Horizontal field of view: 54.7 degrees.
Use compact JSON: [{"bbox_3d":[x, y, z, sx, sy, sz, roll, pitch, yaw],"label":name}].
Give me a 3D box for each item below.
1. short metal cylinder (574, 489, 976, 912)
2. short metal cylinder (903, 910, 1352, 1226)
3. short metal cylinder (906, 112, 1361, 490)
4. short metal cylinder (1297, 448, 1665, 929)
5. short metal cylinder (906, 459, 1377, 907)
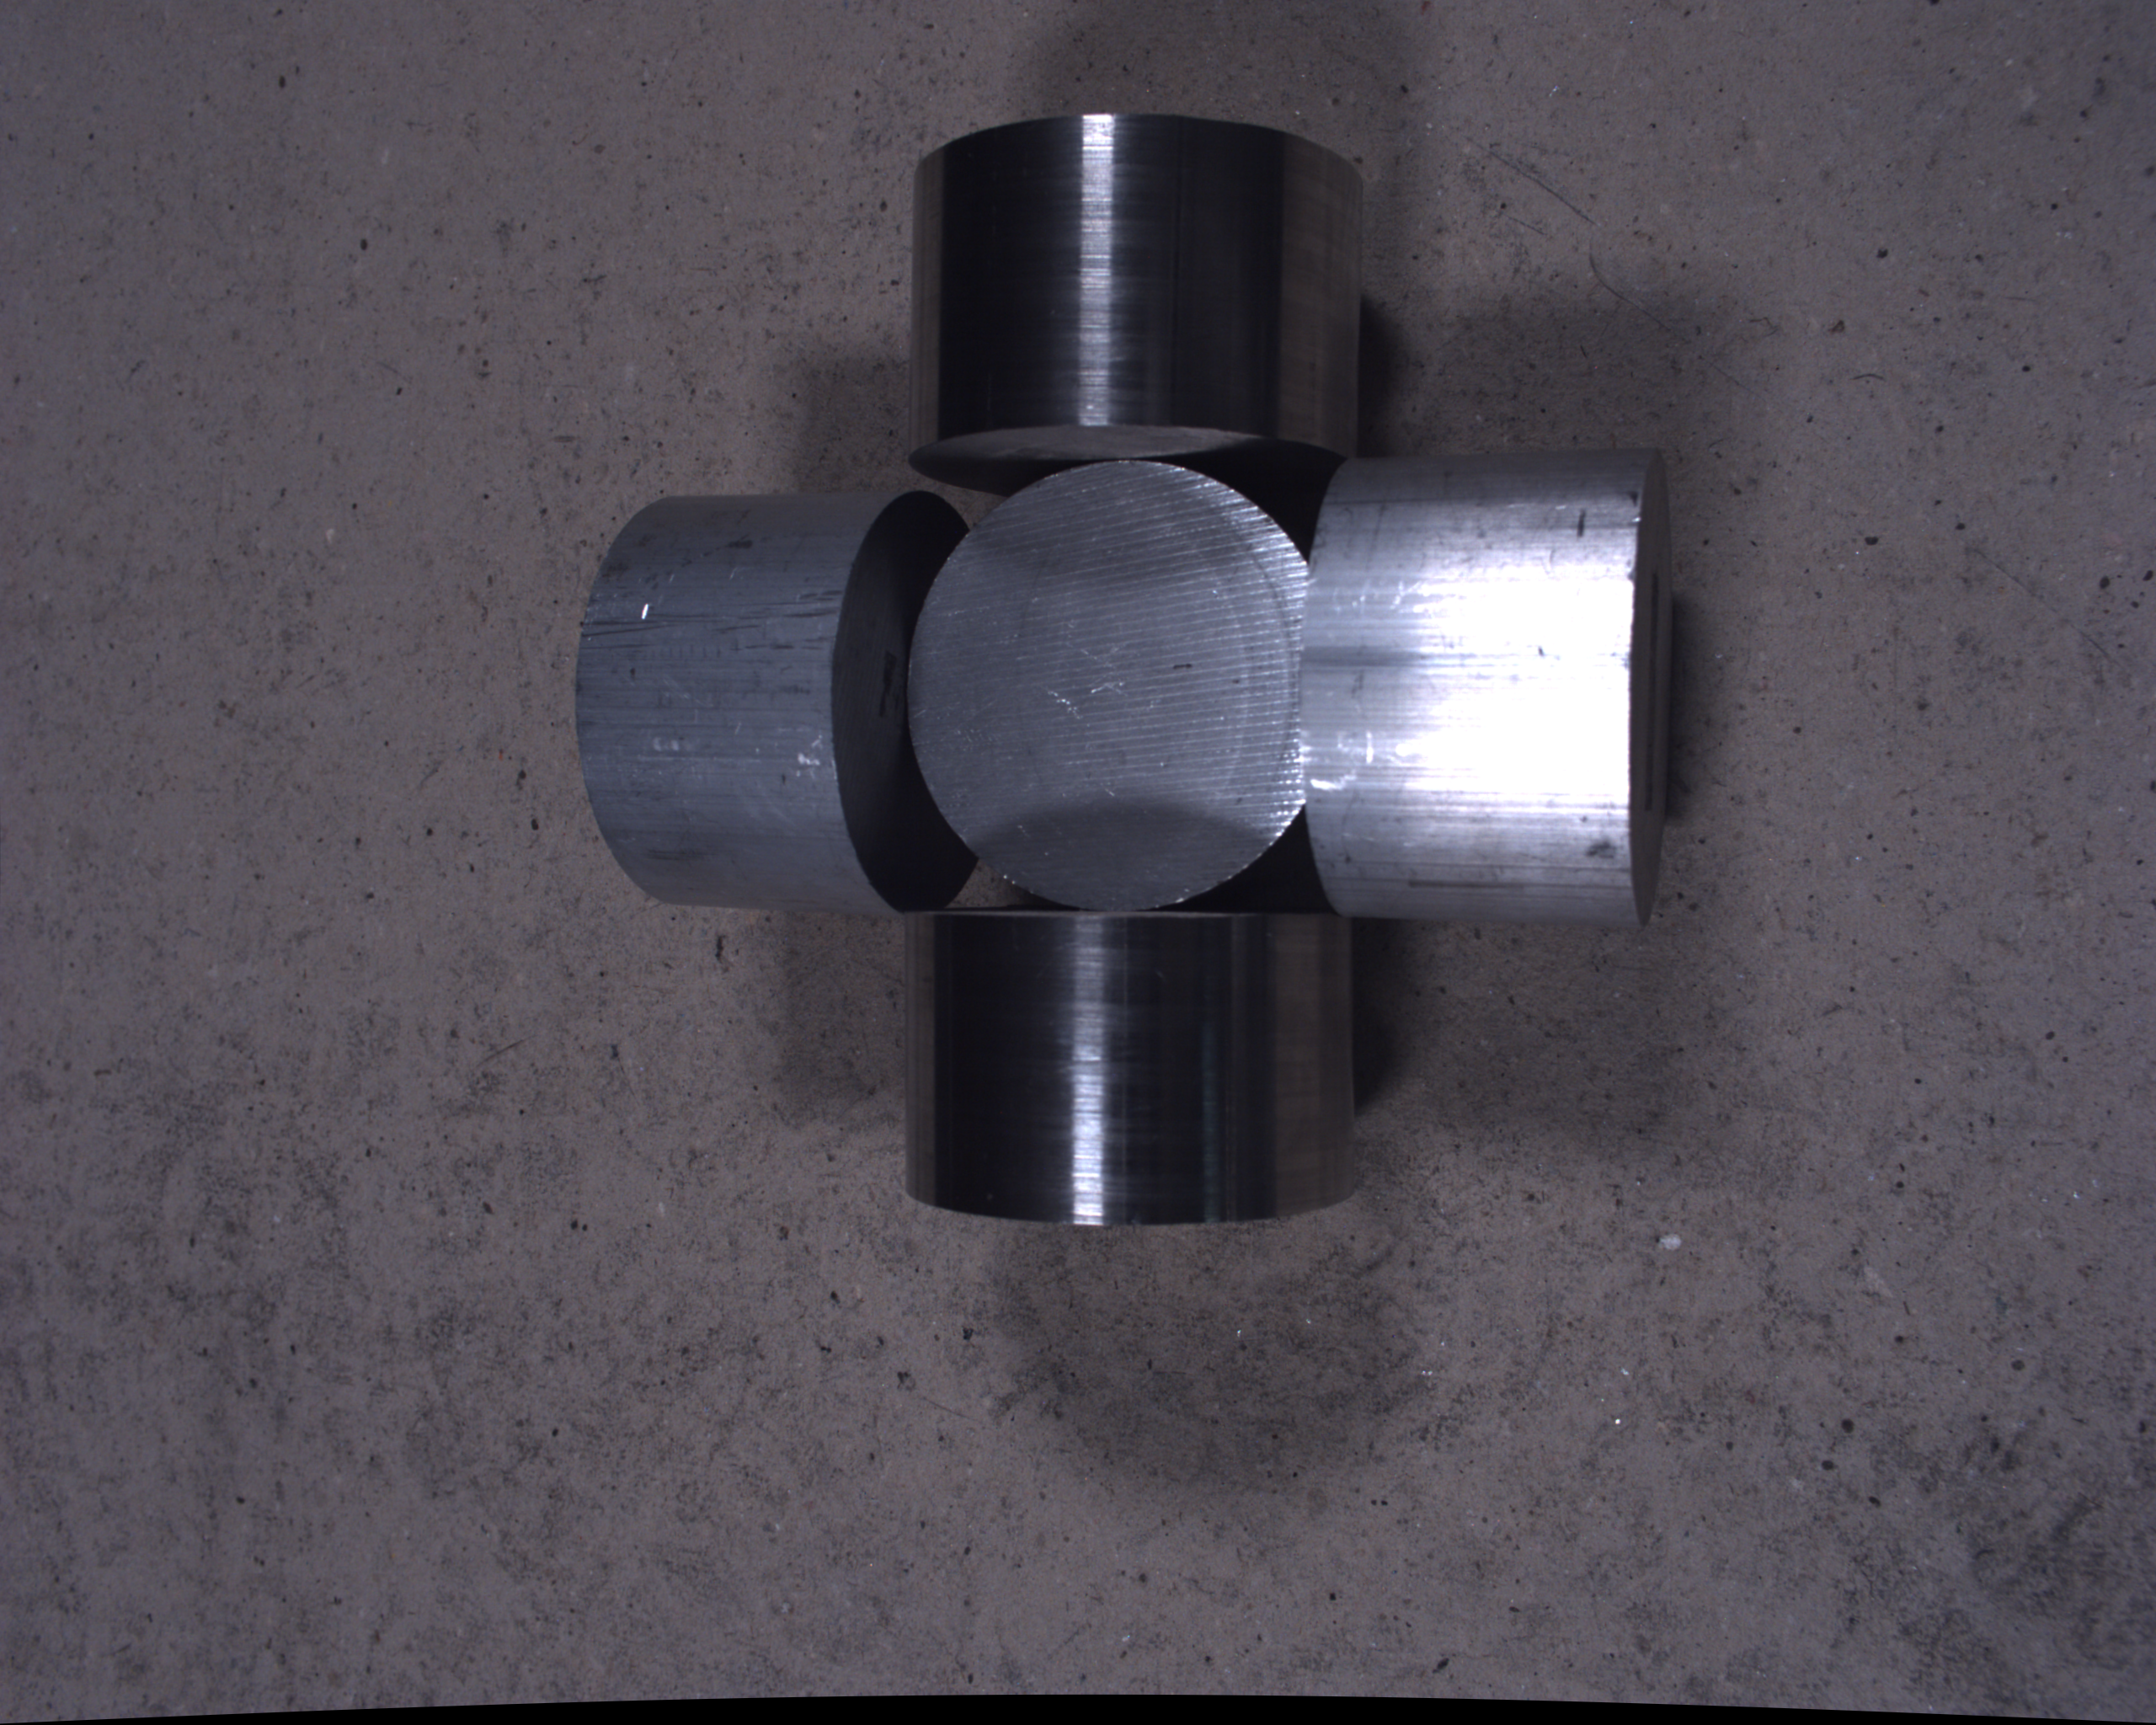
[{"bbox_3d":[-0.052,-0.031,0.399,0.050,0.080,0.079,2,91,20],"label":"short metal cylinder"},{"bbox_3d":[0.009,0.034,0.377,0.080,0.080,0.050,1,90,19],"label":"short metal cylinder"},{"bbox_3d":[0.010,-0.097,0.376,0.080,0.080,0.050,2,91,19],"label":"short metal cylinder"},{"bbox_3d":[0.072,-0.029,0.355,0.050,0.080,0.079,2,91,20],"label":"short metal cylinder"},{"bbox_3d":[0.015,-0.031,0.391,0.080,0.050,0.079,0,90,19],"label":"short metal cylinder"}]
